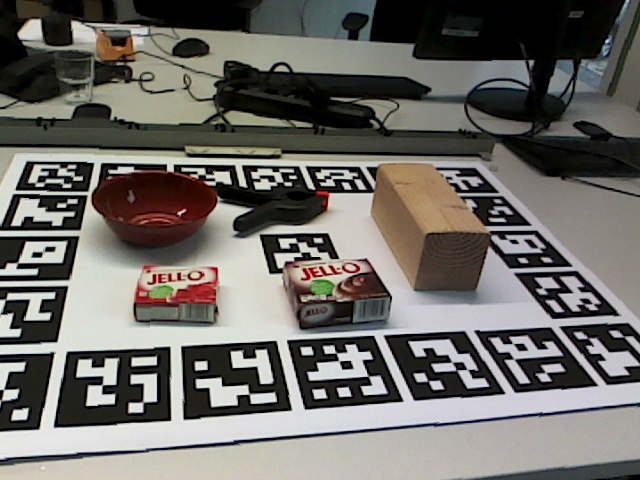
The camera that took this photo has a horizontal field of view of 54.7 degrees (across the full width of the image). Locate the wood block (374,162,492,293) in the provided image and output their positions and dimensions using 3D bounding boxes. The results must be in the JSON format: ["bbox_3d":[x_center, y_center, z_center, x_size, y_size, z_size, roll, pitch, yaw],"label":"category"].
[{"bbox_3d":[0.151,-0.023,0.869,0.089,0.091,0.207,1,32,-12],"label":"wood block"}]

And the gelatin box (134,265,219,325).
[{"bbox_3d":[-0.165,0.062,0.718,0.089,0.030,0.073,3,33,-7],"label":"gelatin box"}]

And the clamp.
[{"bbox_3d":[-0.078,-0.049,0.929,0.164,0.036,0.122,-6,34,-24],"label":"clamp"}]

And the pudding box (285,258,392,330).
[{"bbox_3d":[0.019,0.064,0.750,0.113,0.038,0.090,-3,37,-13],"label":"pudding box"}]

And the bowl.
[{"bbox_3d":[-0.225,-0.034,0.851,0.161,0.055,0.162,7,34,-5],"label":"bowl"}]
